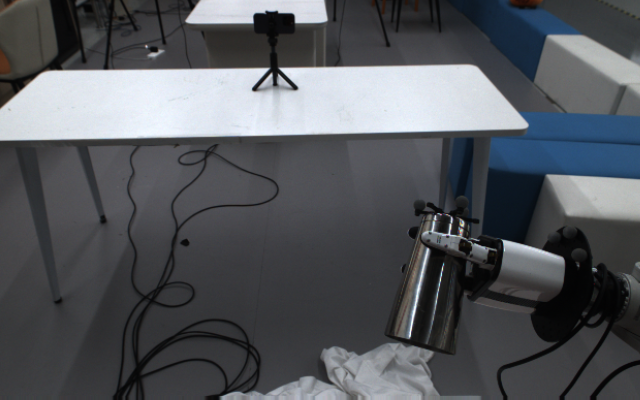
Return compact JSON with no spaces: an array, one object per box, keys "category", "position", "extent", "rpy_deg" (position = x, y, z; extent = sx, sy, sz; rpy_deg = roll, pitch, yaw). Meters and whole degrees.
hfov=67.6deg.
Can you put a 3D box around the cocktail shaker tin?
[{"category":"cocktail shaker tin","position":[0.152,0.105,0.646],"extent":[0.093,0.093,0.170],"rpy_deg":[12,72,14]}]
